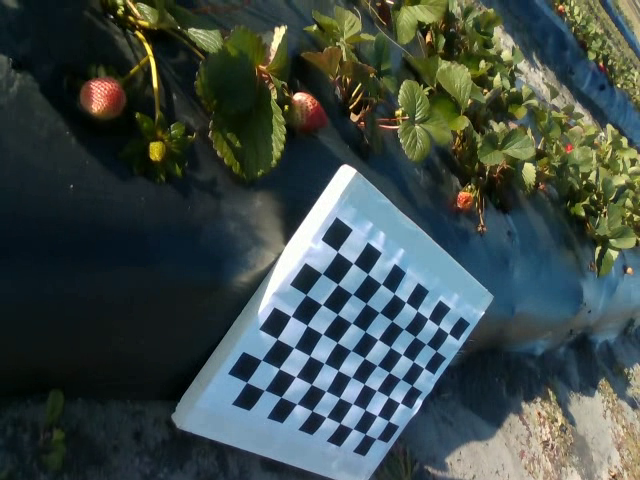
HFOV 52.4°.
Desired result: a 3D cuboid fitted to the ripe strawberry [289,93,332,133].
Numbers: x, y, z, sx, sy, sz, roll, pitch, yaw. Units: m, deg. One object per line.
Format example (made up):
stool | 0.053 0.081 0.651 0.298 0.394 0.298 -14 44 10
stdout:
ripe strawberry | -0.011 -0.131 0.665 0.064 0.044 0.043 13 15 -43
